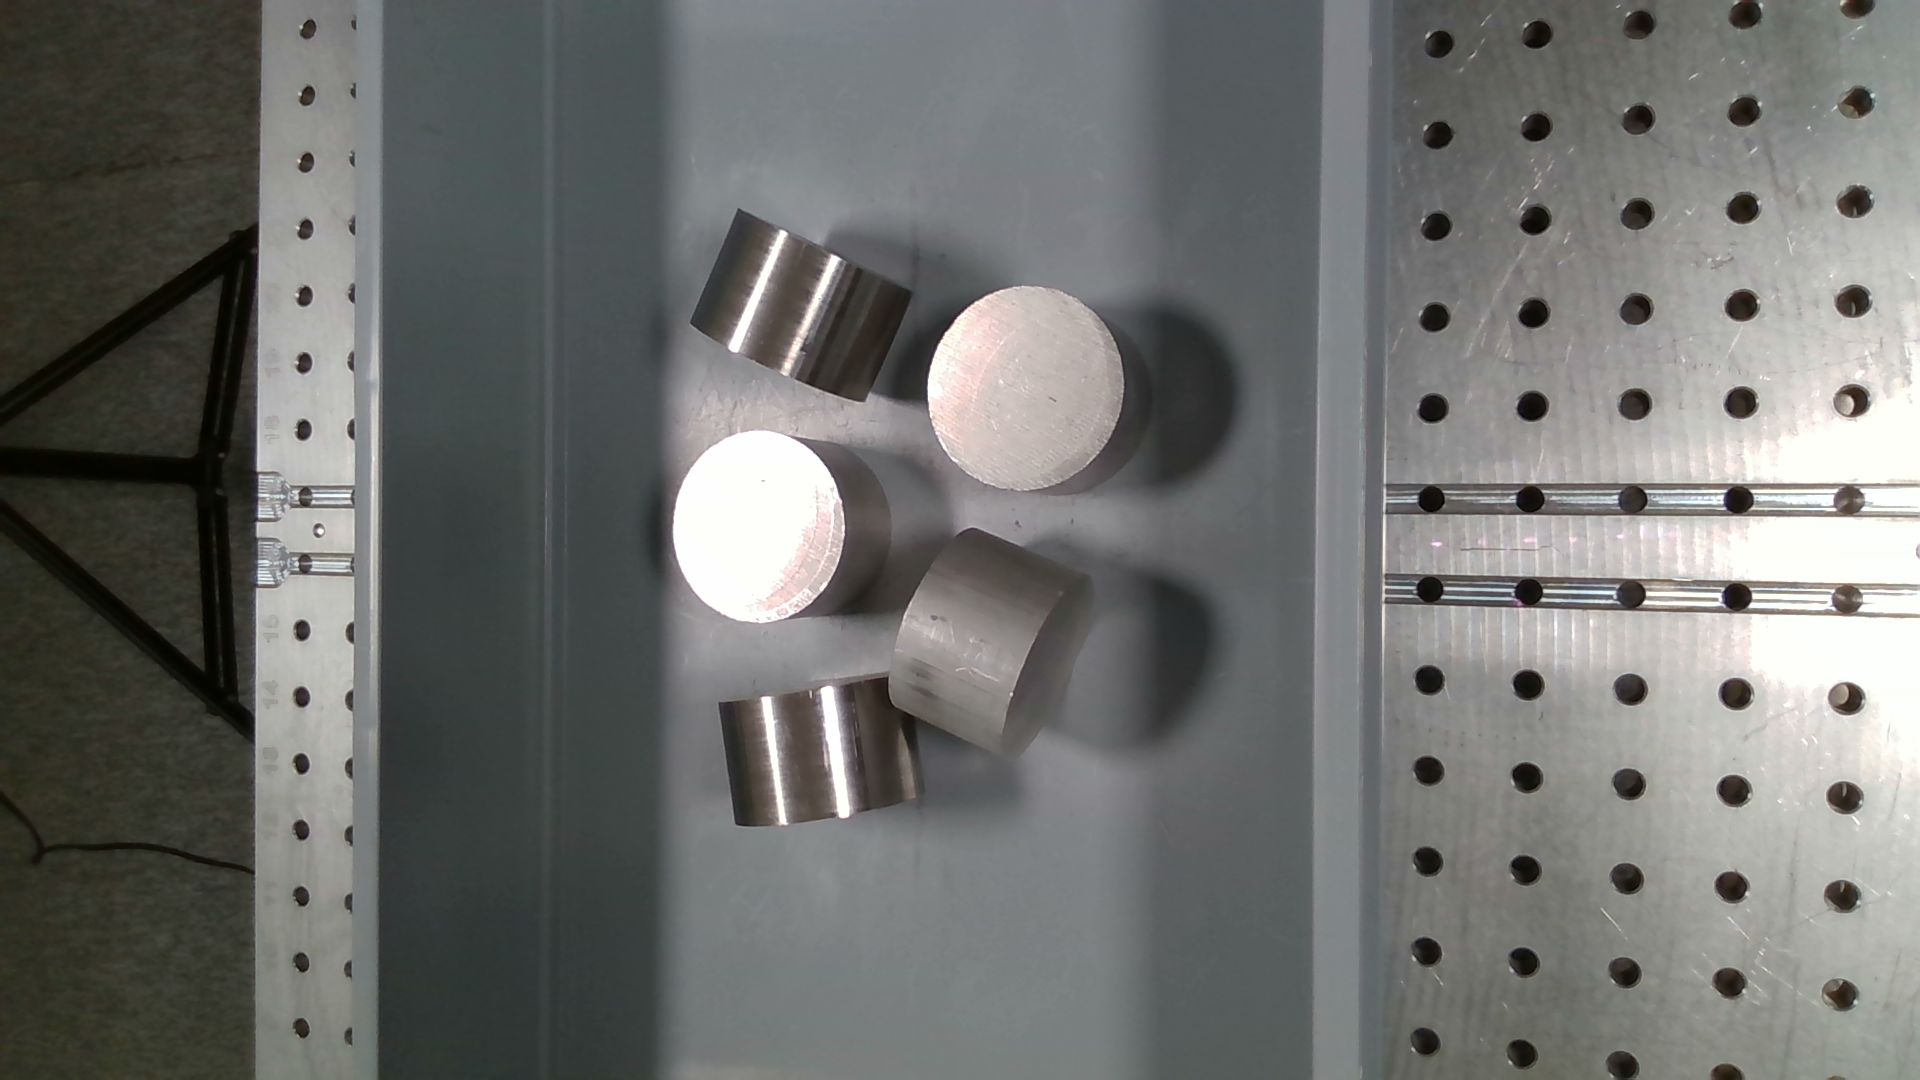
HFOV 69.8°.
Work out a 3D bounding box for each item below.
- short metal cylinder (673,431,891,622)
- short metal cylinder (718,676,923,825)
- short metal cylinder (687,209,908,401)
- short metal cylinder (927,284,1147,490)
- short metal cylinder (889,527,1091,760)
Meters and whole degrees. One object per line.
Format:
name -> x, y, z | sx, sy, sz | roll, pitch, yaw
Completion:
short metal cylinder -> -0.077, -0.006, 0.599 | 0.080, 0.050, 0.080 | 0, 90, 20
short metal cylinder -> -0.059, 0.086, 0.577 | 0.080, 0.080, 0.050 | -10, 87, 20
short metal cylinder -> -0.067, -0.098, 0.578 | 0.080, 0.080, 0.050 | 28, 100, 18
short metal cylinder -> 0.033, -0.059, 0.558 | 0.080, 0.050, 0.080 | 0, 90, 20
short metal cylinder -> 0.014, 0.041, 0.552 | 0.050, 0.080, 0.080 | 23, 98, 19
